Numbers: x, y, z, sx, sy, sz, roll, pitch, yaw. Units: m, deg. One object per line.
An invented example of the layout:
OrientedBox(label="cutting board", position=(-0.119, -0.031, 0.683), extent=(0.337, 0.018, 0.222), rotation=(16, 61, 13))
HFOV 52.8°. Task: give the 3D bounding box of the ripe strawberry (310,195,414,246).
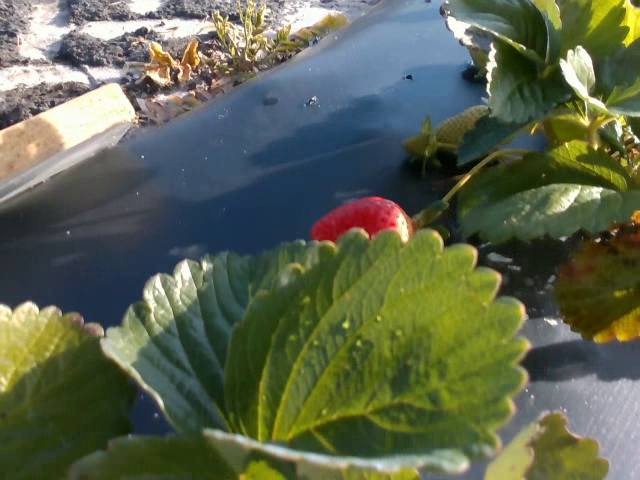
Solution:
OrientedBox(label="ripe strawberry", position=(0.013, -0.001, 0.227), extent=(0.044, 0.033, 0.030), rotation=(0, 3, -5))
